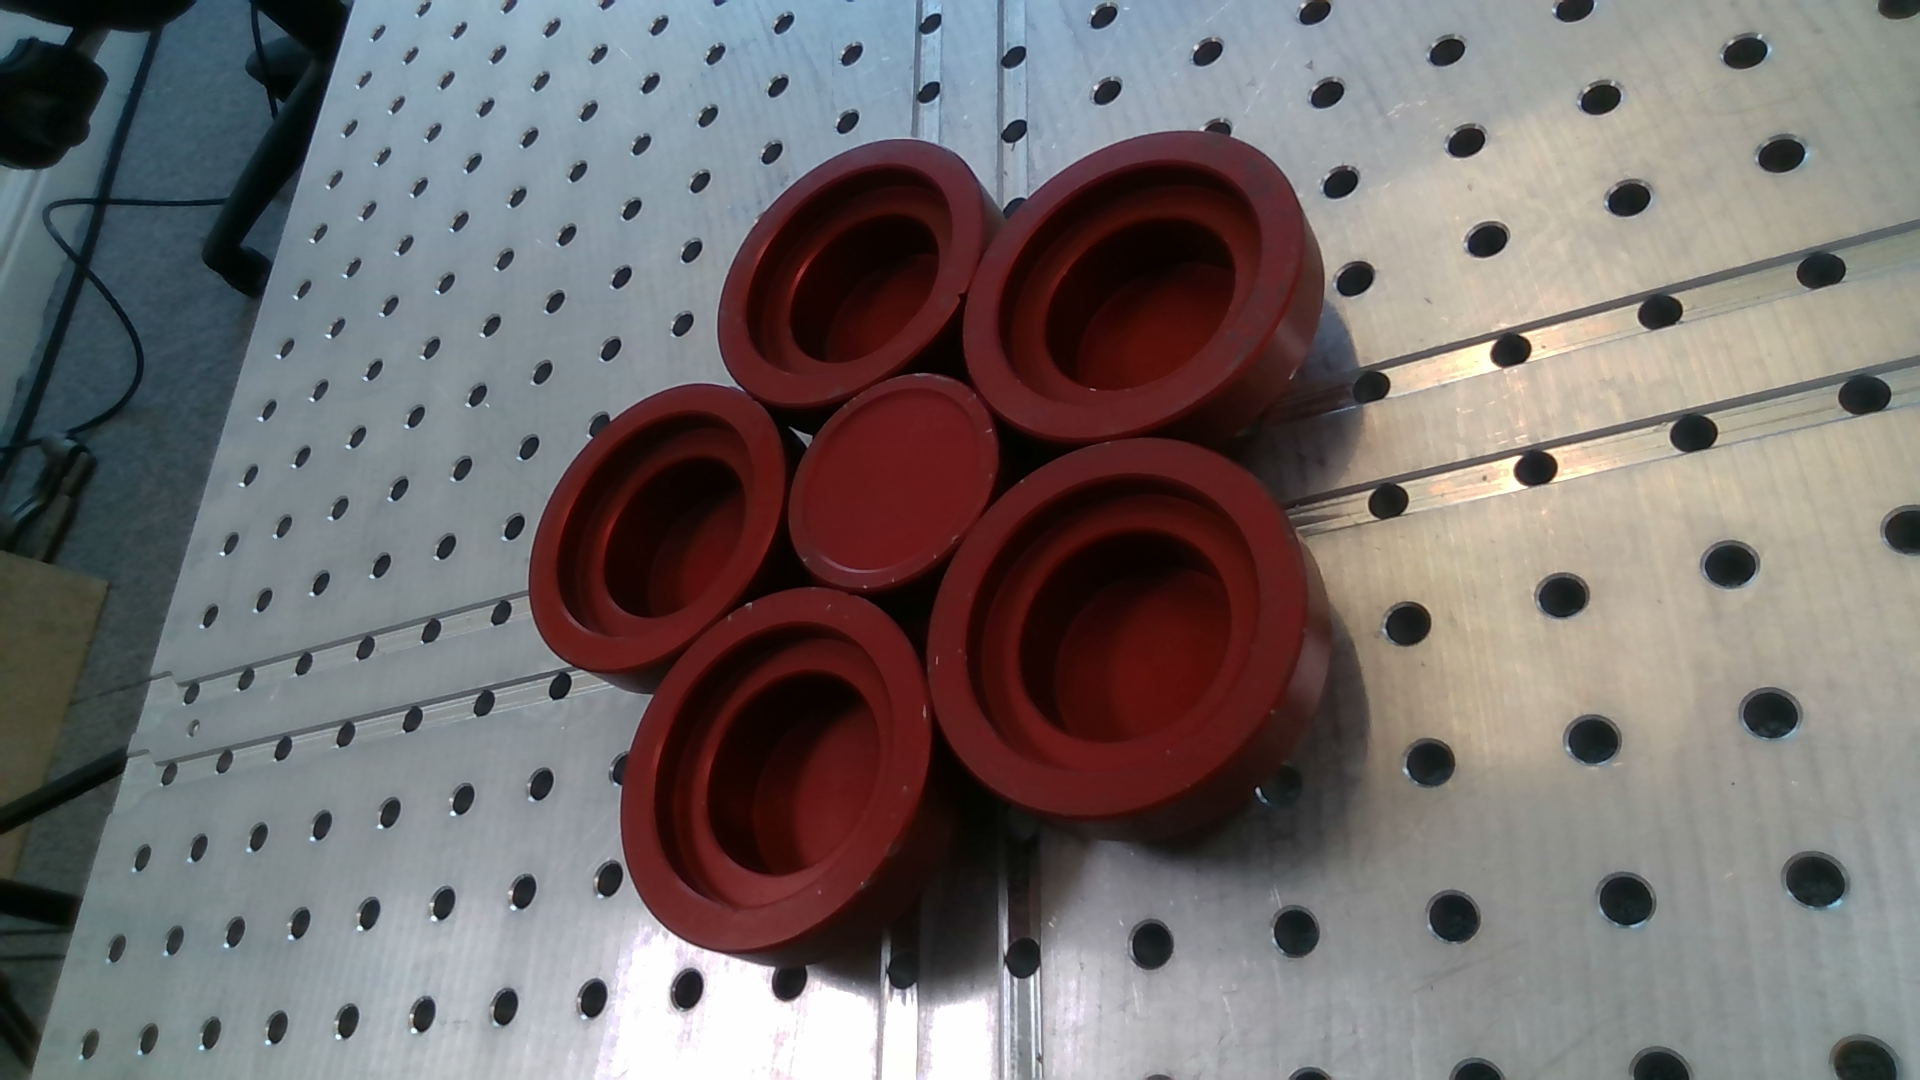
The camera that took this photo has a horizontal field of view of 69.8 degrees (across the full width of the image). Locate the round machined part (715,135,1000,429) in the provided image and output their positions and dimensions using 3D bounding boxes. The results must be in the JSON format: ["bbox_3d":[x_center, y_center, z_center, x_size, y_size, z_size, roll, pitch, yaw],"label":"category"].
[{"bbox_3d":[-0.026,-0.077,0.441,0.098,0.042,0.098,-14,59,25],"label":"round machined part"}]

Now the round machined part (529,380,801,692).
[{"bbox_3d":[-0.085,0.002,0.435,0.098,0.042,0.098,-14,59,25],"label":"round machined part"}]

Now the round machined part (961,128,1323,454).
[{"bbox_3d":[0.053,-0.062,0.385,0.098,0.042,0.098,-14,59,25],"label":"round machined part"}]

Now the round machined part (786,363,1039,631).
[{"bbox_3d":[-0.011,-0.009,0.396,0.098,0.042,0.098,-14,59,25],"label":"round machined part"}]

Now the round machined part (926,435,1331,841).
[{"bbox_3d":[0.044,0.027,0.343,0.098,0.042,0.098,-14,59,25],"label":"round machined part"}]

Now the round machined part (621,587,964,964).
[{"bbox_3d":[-0.041,0.066,0.375,0.098,0.042,0.098,-14,59,25],"label":"round machined part"}]
